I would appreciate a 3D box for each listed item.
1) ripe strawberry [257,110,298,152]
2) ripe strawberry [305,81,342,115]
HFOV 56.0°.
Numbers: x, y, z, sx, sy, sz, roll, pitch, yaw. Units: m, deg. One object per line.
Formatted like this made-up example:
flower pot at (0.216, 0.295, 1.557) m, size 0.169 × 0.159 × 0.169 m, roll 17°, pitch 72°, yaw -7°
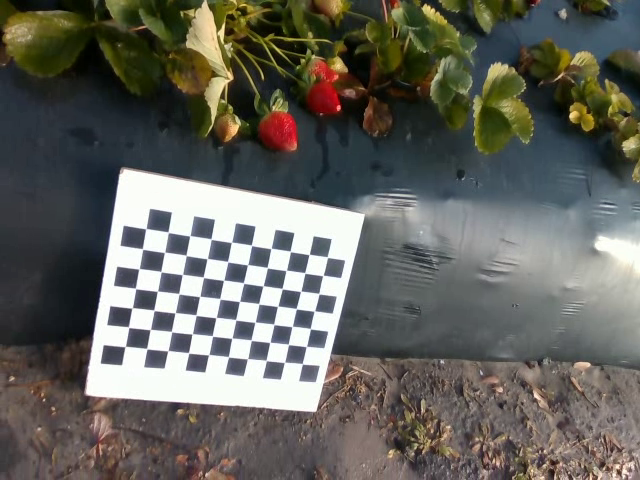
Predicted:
ripe strawberry at (-0.048, -0.130, 0.716) m, size 0.050 × 0.065 × 0.049 m, roll -30°, pitch -37°, yaw -5°
ripe strawberry at (0.006, -0.178, 0.762) m, size 0.055 × 0.044 × 0.042 m, roll 39°, pitch 2°, yaw 32°
